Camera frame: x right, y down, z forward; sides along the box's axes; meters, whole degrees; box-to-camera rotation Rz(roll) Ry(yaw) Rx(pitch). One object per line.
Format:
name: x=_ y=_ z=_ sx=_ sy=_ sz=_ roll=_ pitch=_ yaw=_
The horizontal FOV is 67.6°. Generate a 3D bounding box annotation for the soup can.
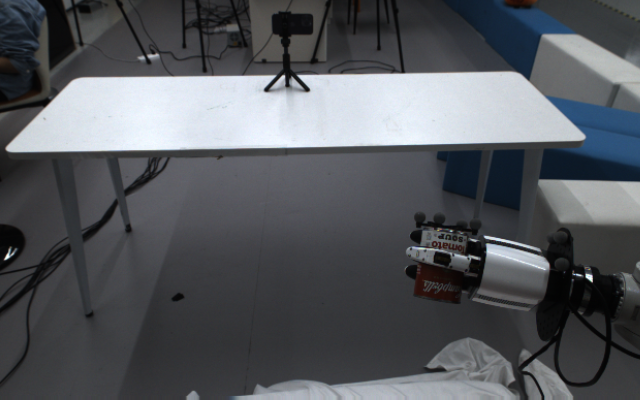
soup can: x=0.177 y=0.094 z=0.704 sx=0.067 sy=0.101 sz=0.067 roll=9 pitch=-6 yaw=1
